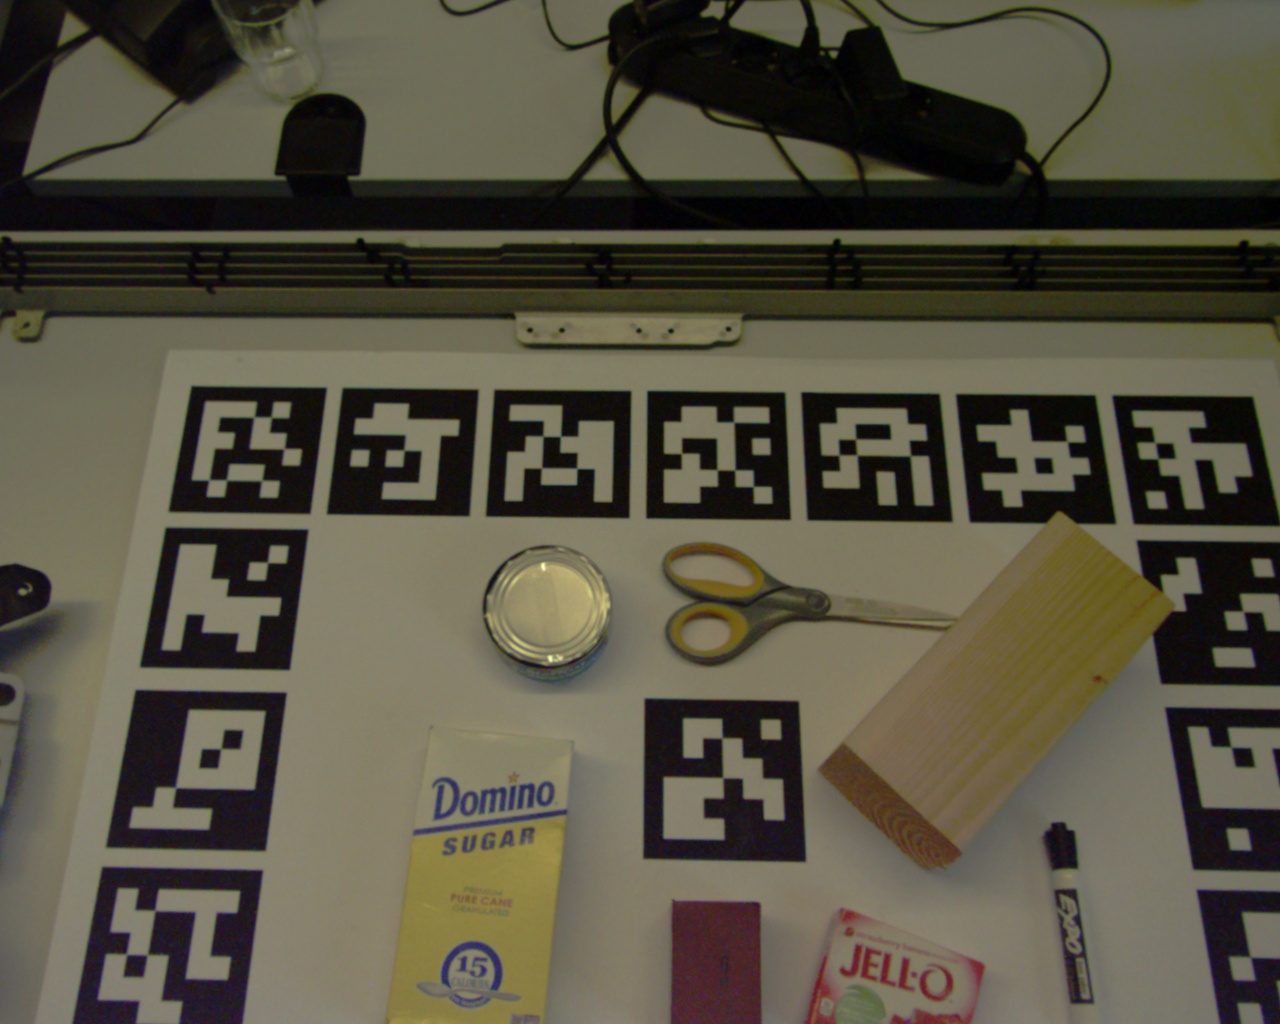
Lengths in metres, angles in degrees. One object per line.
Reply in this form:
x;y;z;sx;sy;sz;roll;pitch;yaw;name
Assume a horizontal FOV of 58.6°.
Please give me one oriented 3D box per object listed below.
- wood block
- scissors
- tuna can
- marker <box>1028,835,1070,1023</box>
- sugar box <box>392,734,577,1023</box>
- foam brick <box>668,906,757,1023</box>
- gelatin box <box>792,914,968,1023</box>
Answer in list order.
0.224;0.129;0.742;0.205;0.090;0.090;-42;73;-15;wood block
0.108;0.080;0.802;0.203;0.016;0.088;8;69;7;scissors
-0.065;0.080;0.795;0.086;0.033;0.086;-1;69;1;tuna can
0.258;0.266;0.718;0.020;0.019;0.121;2;70;2;marker
-0.096;0.236;0.731;0.093;0.045;0.176;5;68;3;sugar box
0.044;0.284;0.698;0.053;0.051;0.078;3;69;3;foam brick
0.148;0.300;0.704;0.090;0.030;0.073;19;71;9;gelatin box
